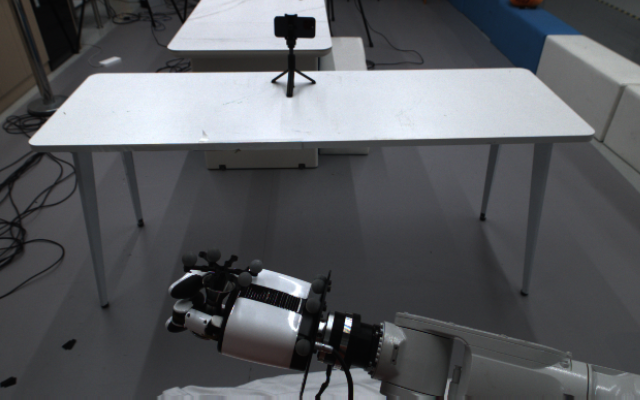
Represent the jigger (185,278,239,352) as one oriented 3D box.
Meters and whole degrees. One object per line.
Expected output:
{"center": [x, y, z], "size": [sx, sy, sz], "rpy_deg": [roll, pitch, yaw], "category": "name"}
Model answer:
{"center": [-0.128, 0.131, 0.600], "size": [0.043, 0.071, 0.043], "rpy_deg": [15, 17, -5], "category": "jigger"}
